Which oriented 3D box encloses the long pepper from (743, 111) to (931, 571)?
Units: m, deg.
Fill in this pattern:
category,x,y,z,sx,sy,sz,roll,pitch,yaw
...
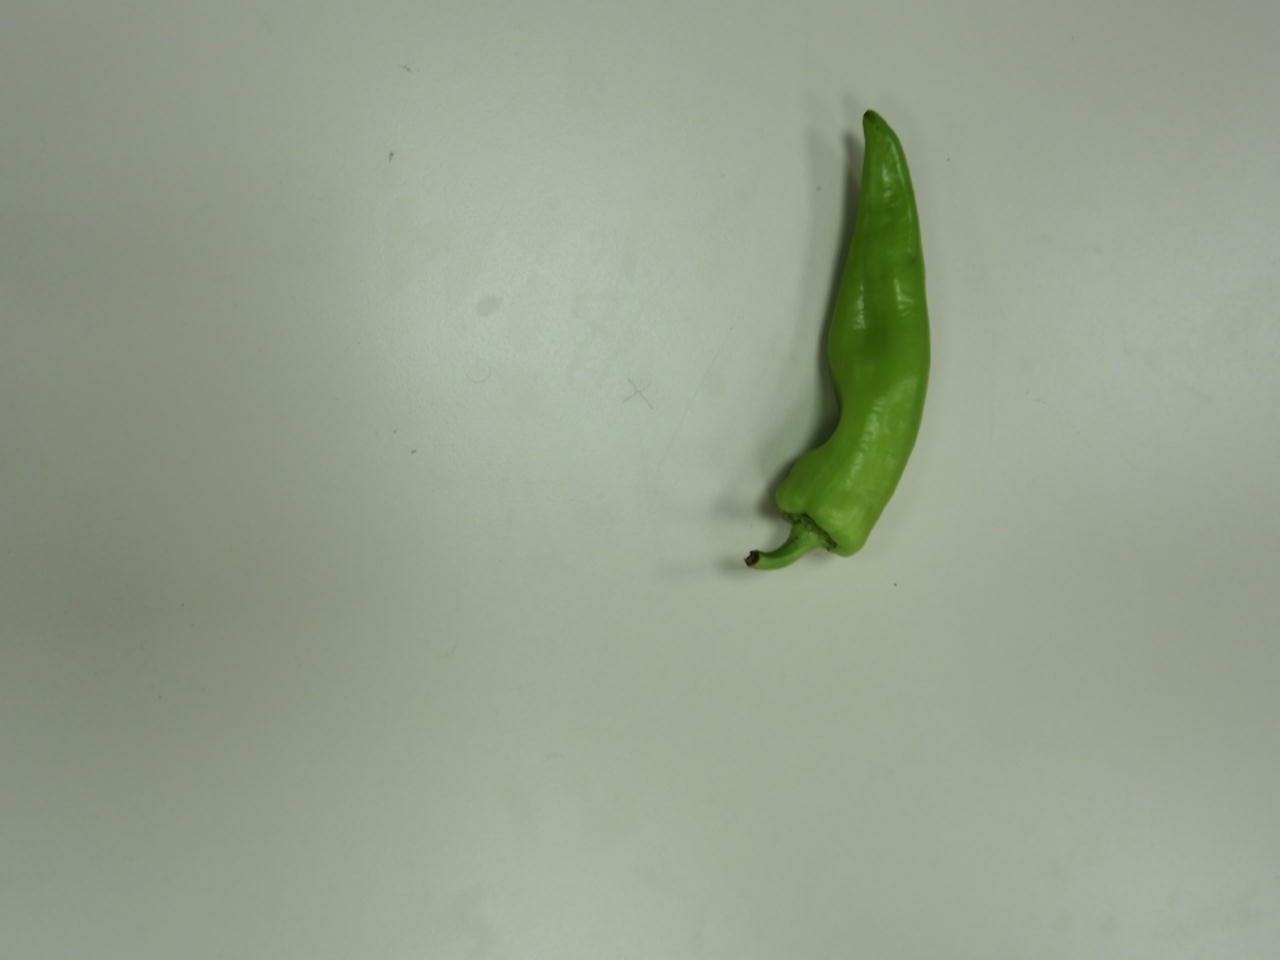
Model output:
category,x,y,z,sx,sy,sz,roll,pitch,yaw
long pepper,0.099,-0.054,0.434,0.065,0.045,0.204,17,87,-11
